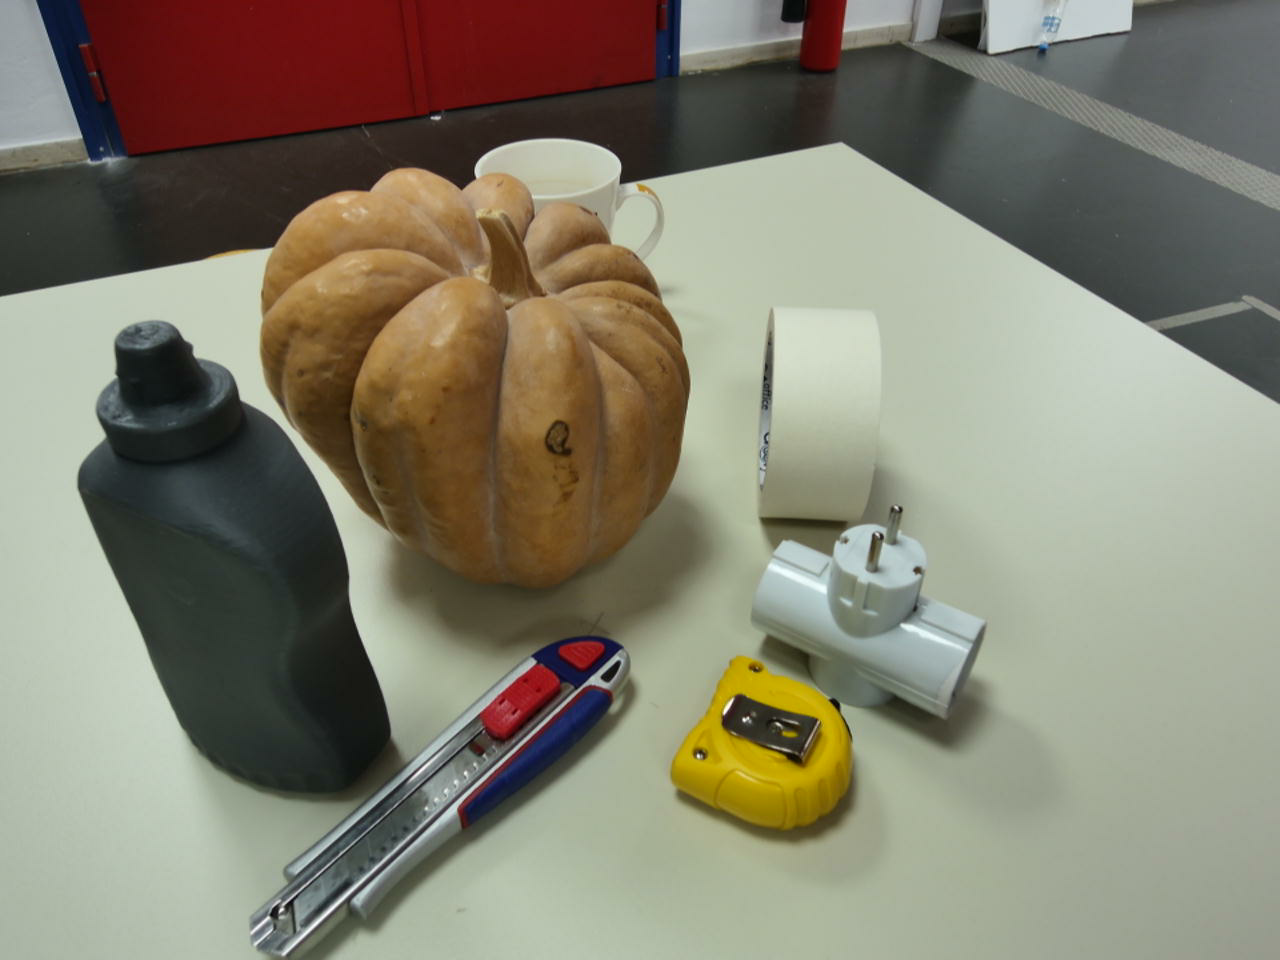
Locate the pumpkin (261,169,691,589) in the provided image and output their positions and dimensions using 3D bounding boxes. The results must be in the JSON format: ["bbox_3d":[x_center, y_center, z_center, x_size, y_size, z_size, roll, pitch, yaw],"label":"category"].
[{"bbox_3d":[-0.071,-0.046,0.462,0.199,0.177,0.198,0,38,0],"label":"pumpkin"}]
